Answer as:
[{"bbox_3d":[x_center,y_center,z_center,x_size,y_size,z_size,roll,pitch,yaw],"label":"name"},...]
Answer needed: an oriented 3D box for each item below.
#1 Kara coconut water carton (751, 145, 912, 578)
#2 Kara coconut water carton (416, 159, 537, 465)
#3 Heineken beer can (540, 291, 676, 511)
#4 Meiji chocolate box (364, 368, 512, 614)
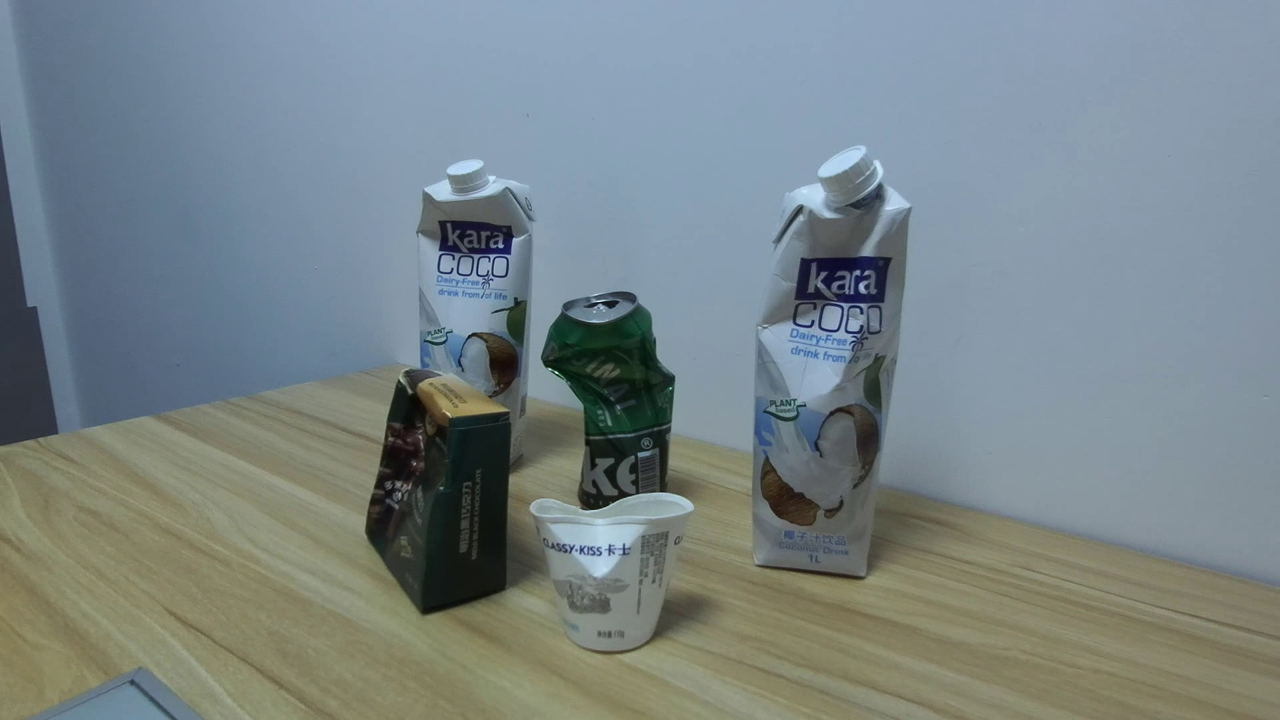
[{"bbox_3d":[0.113,0.003,0.433,0.083,0.255,0.078,9,17,22],"label":"Kara coconut water carton"},{"bbox_3d":[-0.131,-0.035,0.576,0.099,0.244,0.071,1,13,6],"label":"Kara coconut water carton"},{"bbox_3d":[-0.016,0.034,0.505,0.067,0.159,0.079,6,20,35],"label":"Heineken beer can"},{"bbox_3d":[-0.124,0.072,0.429,0.058,0.110,0.112,1,12,-35],"label":"Meiji chocolate box"}]
